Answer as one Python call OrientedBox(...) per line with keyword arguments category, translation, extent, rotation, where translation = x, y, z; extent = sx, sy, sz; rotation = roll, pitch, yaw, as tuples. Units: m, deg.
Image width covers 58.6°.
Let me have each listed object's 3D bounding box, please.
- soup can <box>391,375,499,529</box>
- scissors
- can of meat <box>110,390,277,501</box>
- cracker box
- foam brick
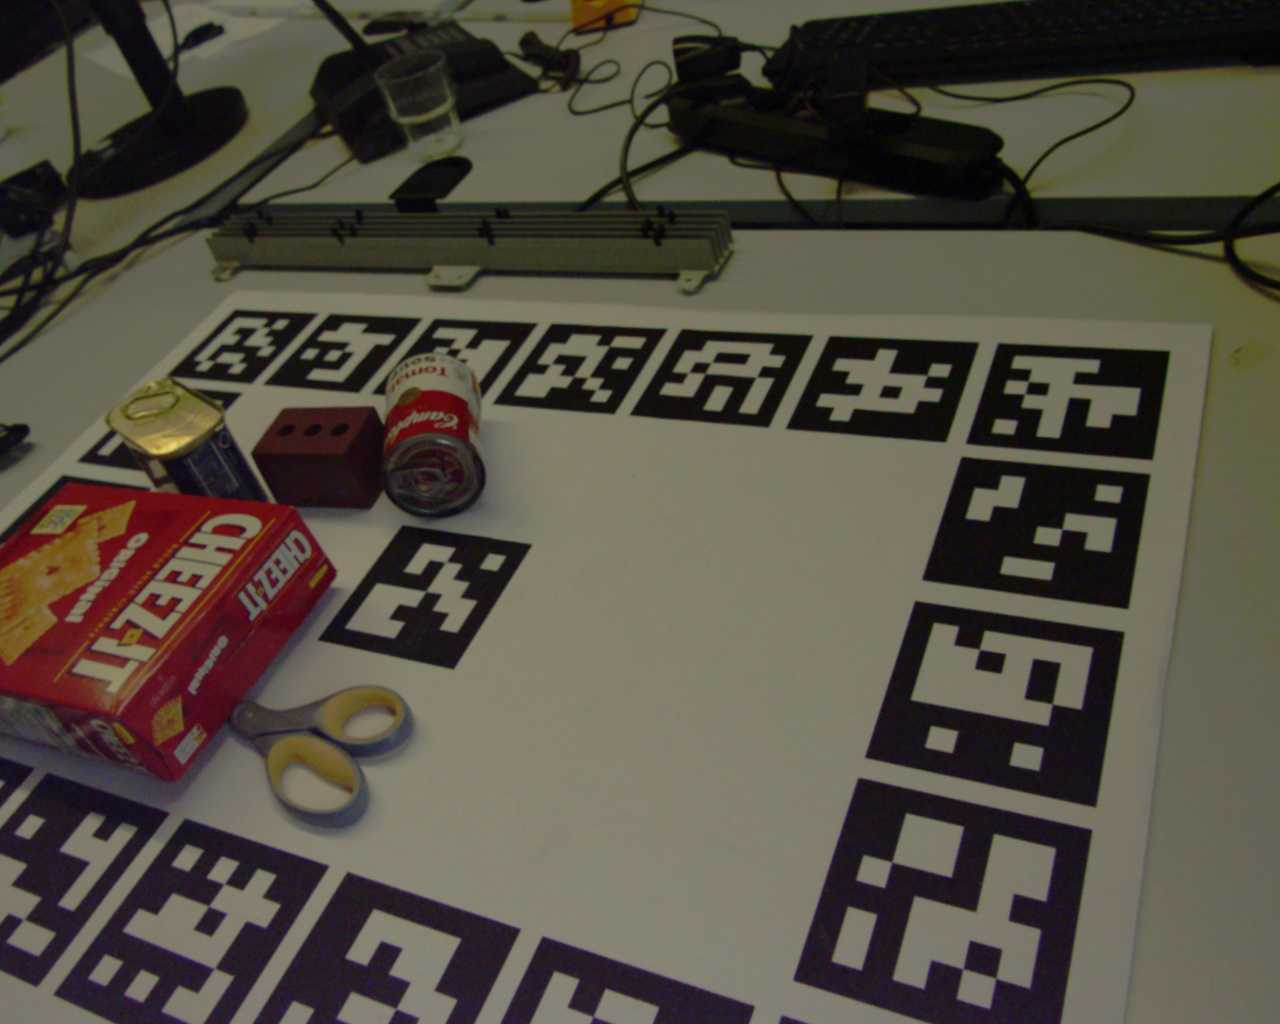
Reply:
OrientedBox(category="soup can", translation=(-0.139, -0.044, 0.802), extent=(0.068, 0.067, 0.103), rotation=(-21, 38, 0))
OrientedBox(category="scissors", translation=(-0.233, 0.128, 0.674), extent=(0.205, 0.016, 0.087), rotation=(3, 48, 24))
OrientedBox(category="can of meat", translation=(-0.325, -0.034, 0.836), extent=(0.103, 0.083, 0.057), rotation=(20, 56, 34))
OrientedBox(category="cracker box", translation=(-0.332, 0.068, 0.726), extent=(0.216, 0.071, 0.164), rotation=(0, 46, 26))
OrientedBox(category="foam brick", translation=(-0.223, -0.033, 0.824), extent=(0.079, 0.051, 0.053), rotation=(-1, 47, 19))
